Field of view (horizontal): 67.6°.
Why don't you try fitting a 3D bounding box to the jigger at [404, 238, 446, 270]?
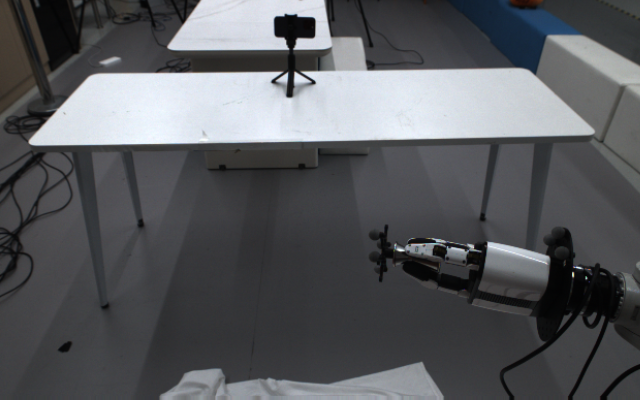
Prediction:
[{"bbox_3d":[0.153,0.080,0.728,0.071,0.043,0.043,3,34,16],"label":"jigger"}]
